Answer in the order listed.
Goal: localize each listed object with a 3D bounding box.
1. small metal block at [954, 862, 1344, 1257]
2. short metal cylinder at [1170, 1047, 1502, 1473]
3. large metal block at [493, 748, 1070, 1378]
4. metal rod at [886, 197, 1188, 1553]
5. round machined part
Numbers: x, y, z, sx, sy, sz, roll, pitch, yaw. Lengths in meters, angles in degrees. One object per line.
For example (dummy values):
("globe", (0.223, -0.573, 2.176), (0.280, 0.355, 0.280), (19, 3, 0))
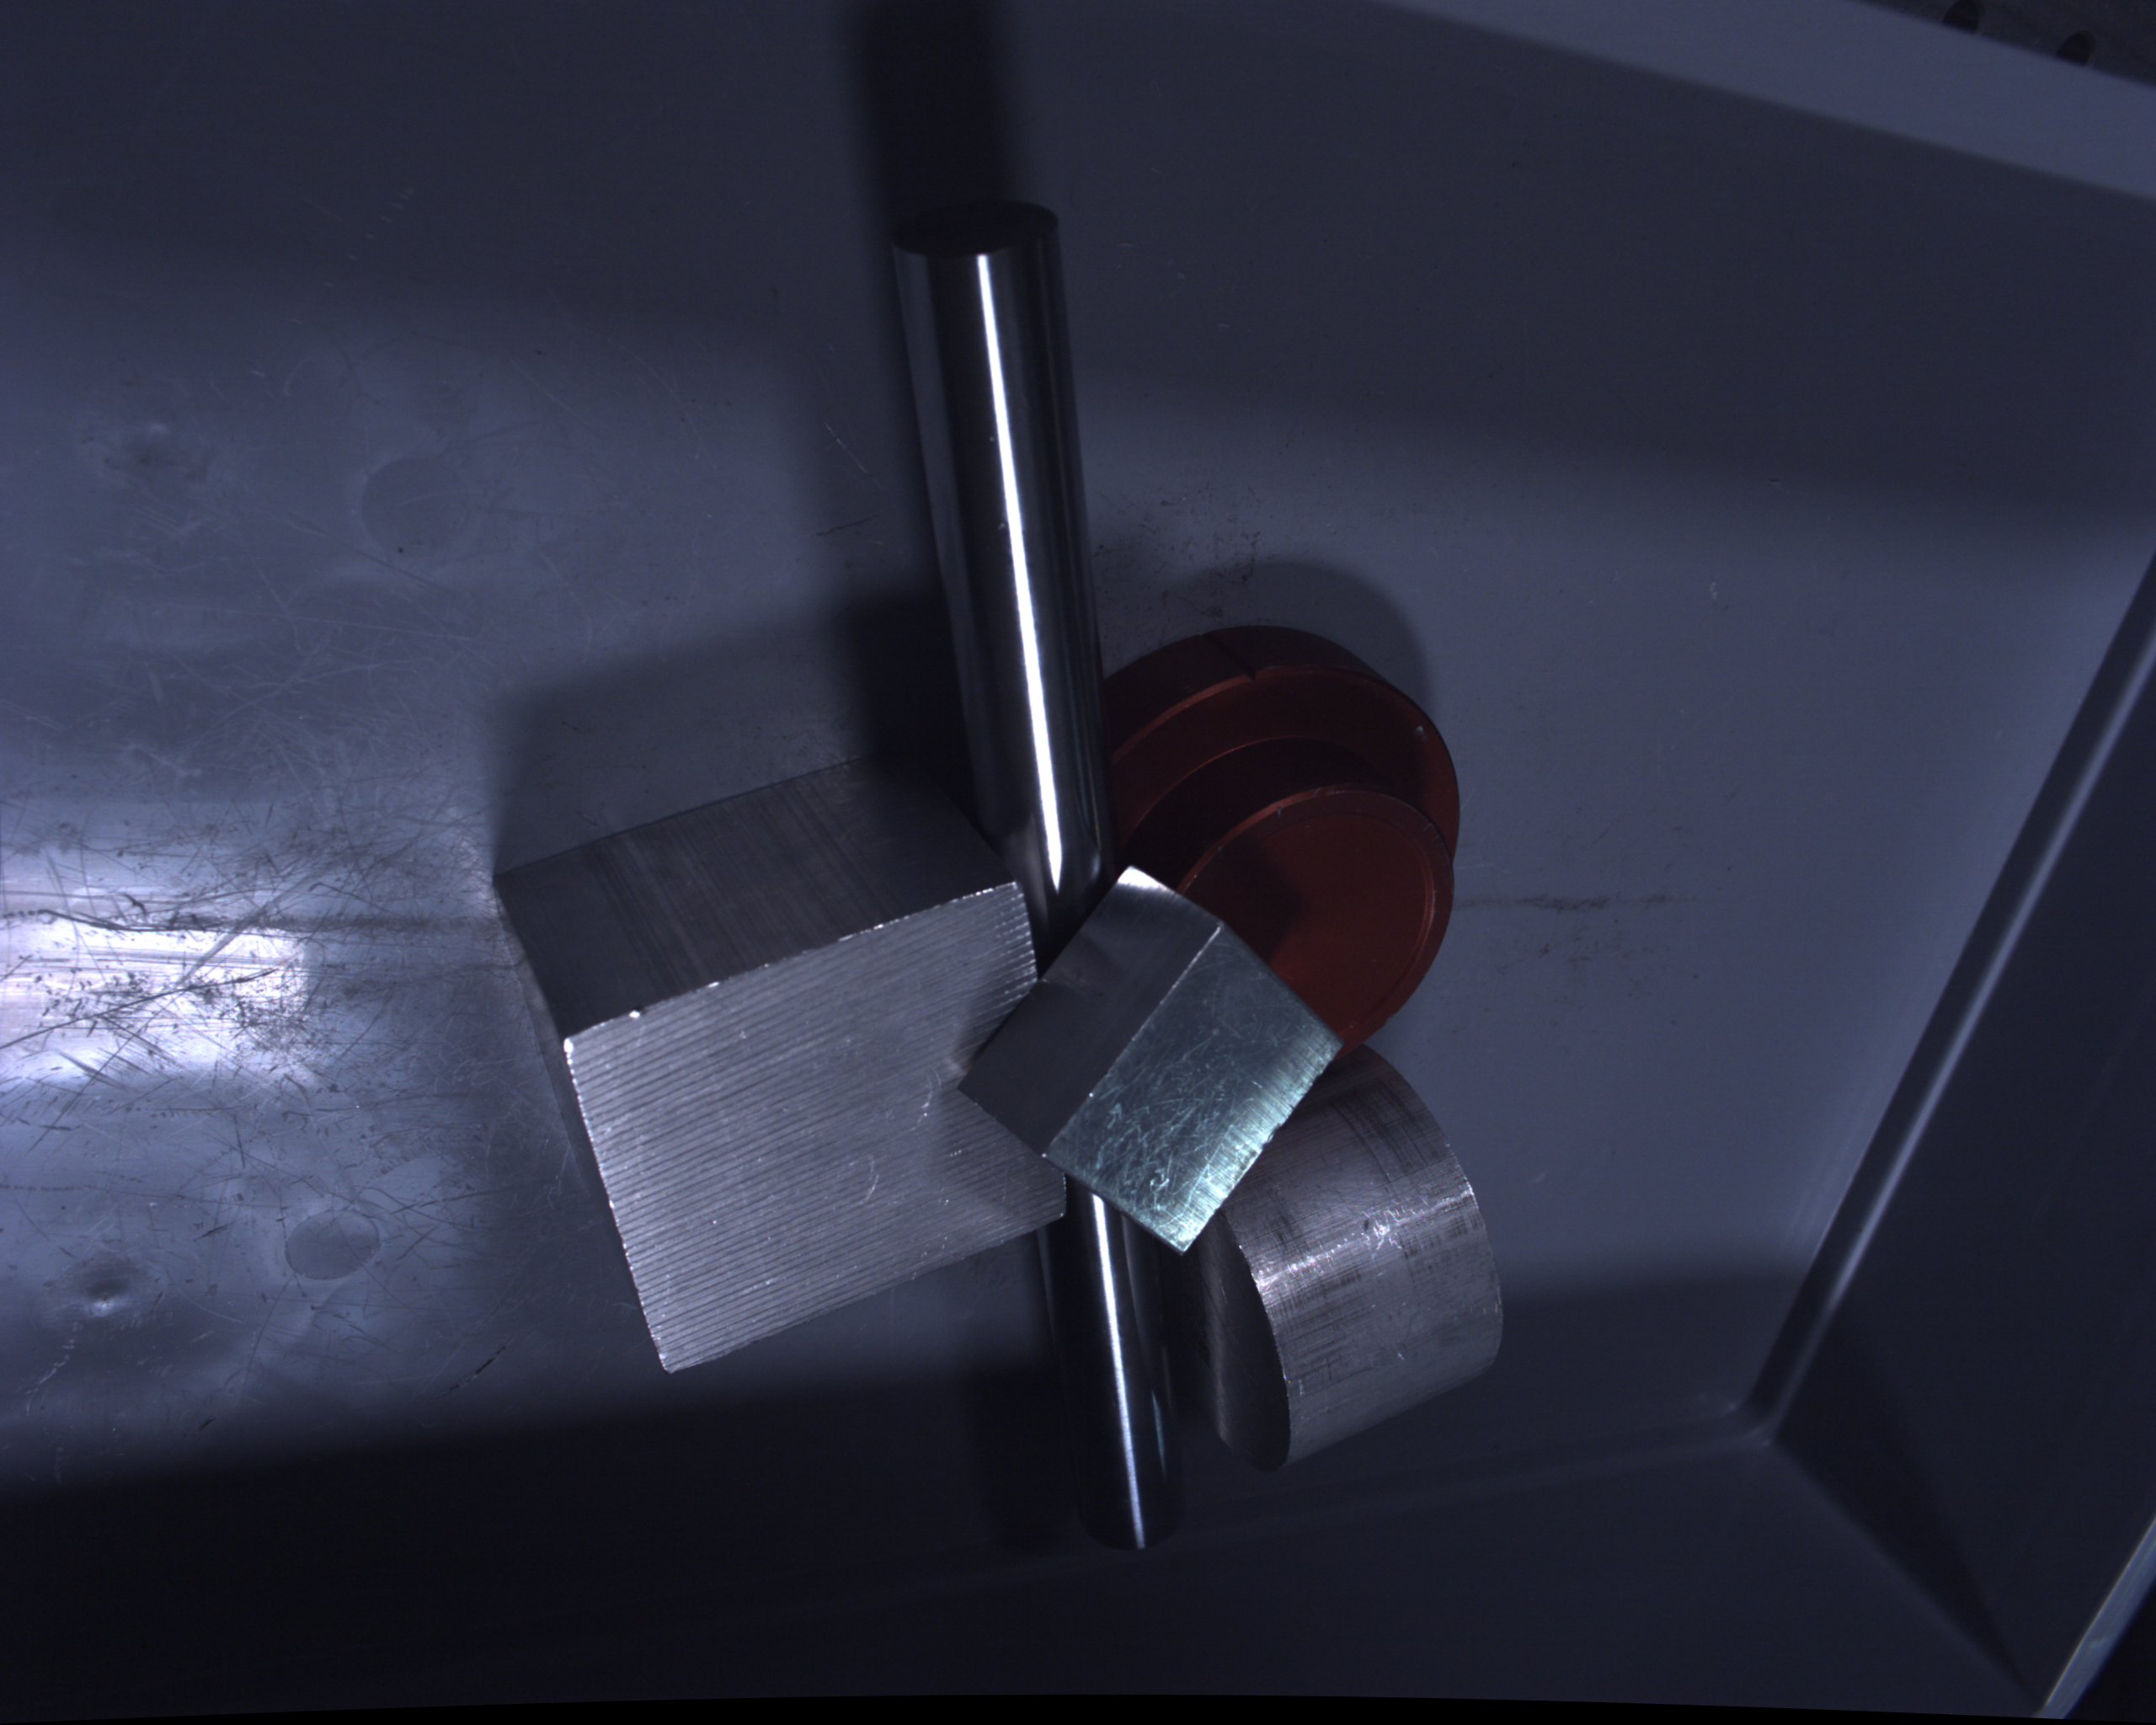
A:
("small metal block", (0.014, 0.036, 0.376), (0.050, 0.025, 0.050), (-52, 137, -6))
("short metal cylinder", (0.047, 0.084, 0.451), (0.050, 0.080, 0.079), (-19, 126, -18))
("large metal block", (-0.052, 0.035, 0.382), (0.081, 0.050, 0.079), (-19, 126, -18))
("metal rod", (-0.002, 0.026, 0.396), (0.025, 0.025, 0.298), (-19, 126, -18))
("round machined part", (0.036, 0.005, 0.419), (0.099, 0.042, 0.097), (-14, 125, -21))
